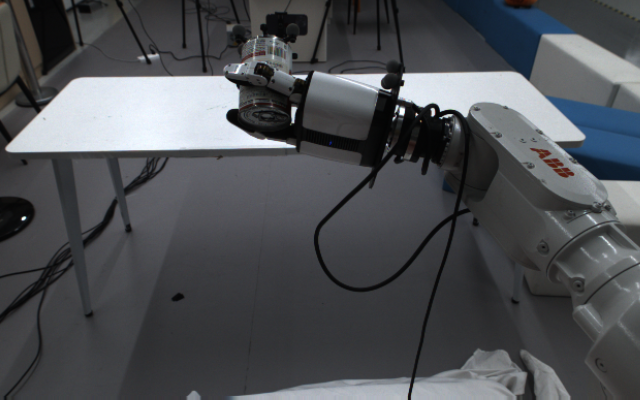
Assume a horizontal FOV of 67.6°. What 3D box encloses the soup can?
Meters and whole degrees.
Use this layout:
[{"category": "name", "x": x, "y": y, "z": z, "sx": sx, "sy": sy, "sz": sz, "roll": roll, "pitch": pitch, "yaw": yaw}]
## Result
[{"category": "soup can", "x": -0.068, "y": -0.147, "z": 0.614, "sx": 0.067, "sy": 0.067, "sz": 0.101, "roll": 1, "pitch": 73, "yaw": -2}]
